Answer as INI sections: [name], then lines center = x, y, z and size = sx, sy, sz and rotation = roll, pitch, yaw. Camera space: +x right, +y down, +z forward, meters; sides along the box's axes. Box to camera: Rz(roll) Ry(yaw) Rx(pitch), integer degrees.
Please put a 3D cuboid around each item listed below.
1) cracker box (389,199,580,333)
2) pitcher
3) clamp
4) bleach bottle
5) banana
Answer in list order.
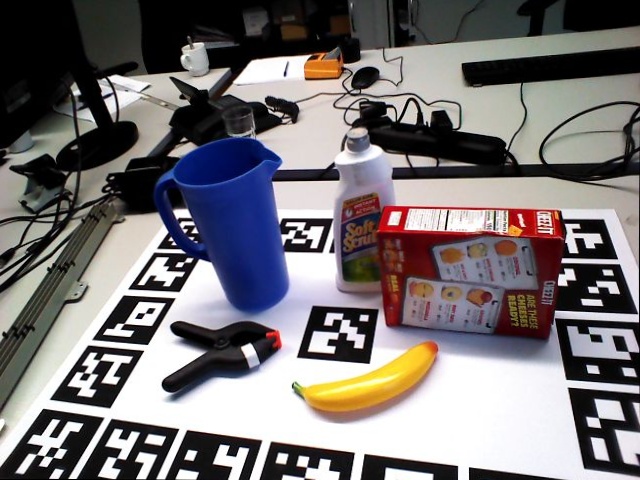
[cracker box]
center = 0.204, 0.032, 0.665
size = 0.215, 0.164, 0.071
rotation = 0, 34, 18
[pitcher]
center = -0.127, -0.028, 0.757
size = 0.189, 0.243, 0.133
rotation = -9, 34, -2
[clamp]
center = -0.125, 0.150, 0.724
size = 0.165, 0.036, 0.121
rotation = -8, 34, 1
[bleach bottle]
center = 0.066, -0.035, 0.749
size = 0.103, 0.251, 0.067
rotation = 0, 36, 16
[banana]
center = 0.084, 0.172, 0.650
size = 0.197, 0.039, 0.074
rotation = -20, 35, -12
